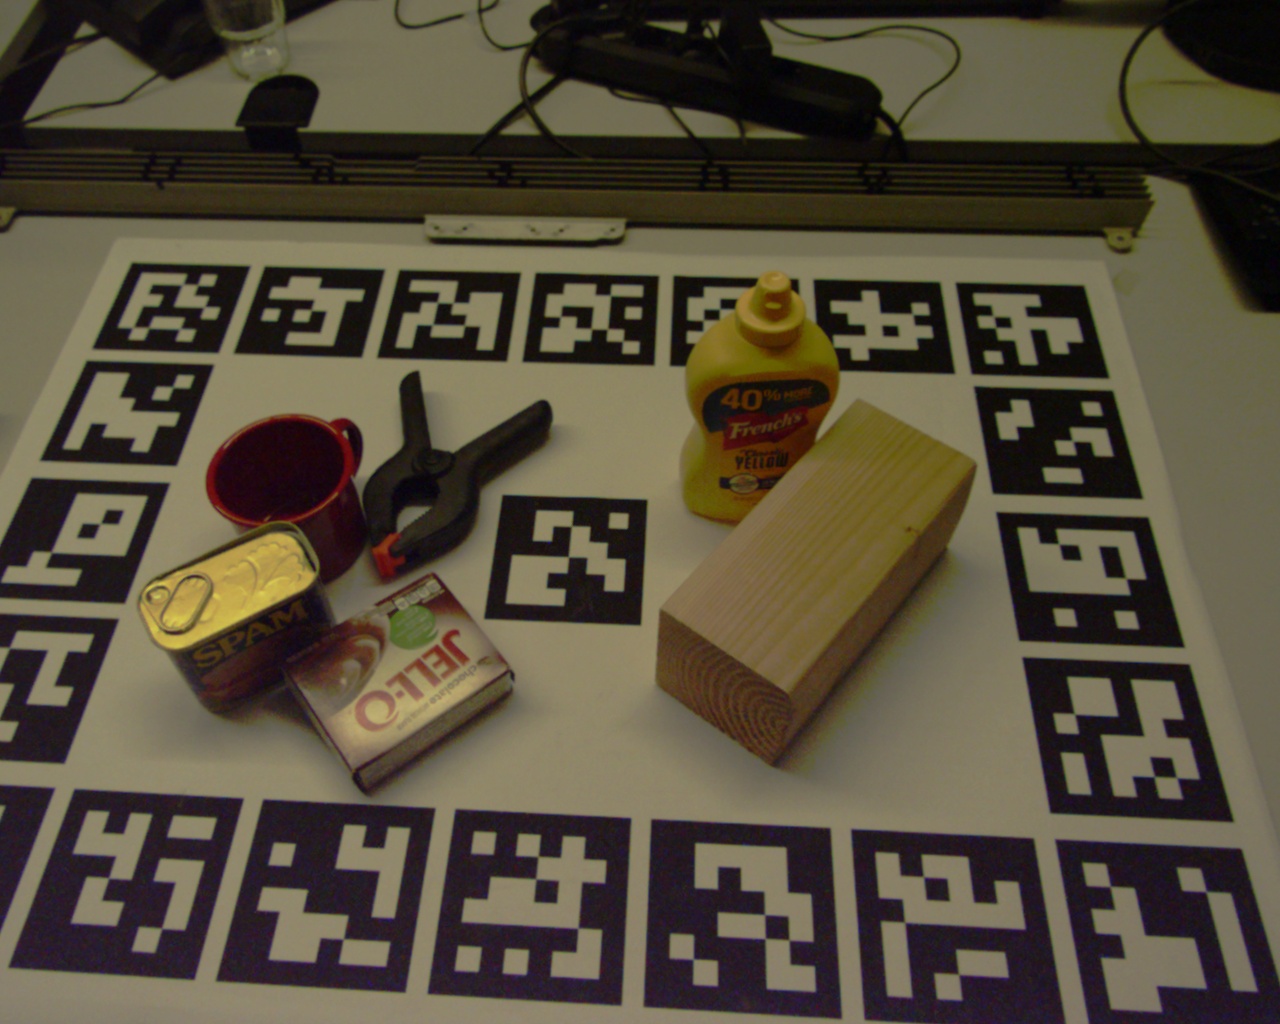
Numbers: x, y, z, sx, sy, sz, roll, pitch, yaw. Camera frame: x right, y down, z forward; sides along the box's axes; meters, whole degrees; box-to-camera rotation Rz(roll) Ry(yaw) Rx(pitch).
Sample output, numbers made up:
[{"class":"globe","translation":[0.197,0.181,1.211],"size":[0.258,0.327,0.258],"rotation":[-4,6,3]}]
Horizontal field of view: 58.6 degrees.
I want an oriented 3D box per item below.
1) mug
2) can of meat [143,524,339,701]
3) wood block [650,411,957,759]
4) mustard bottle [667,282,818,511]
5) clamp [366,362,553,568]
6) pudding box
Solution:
[{"class":"mug","translation":[-0.231,-0.005,0.803],"size":[0.094,0.081,0.117],"rotation":[20,59,14]},{"class":"can of meat","translation":[-0.246,0.066,0.717],"size":[0.101,0.083,0.058],"rotation":[-24,59,-16]},{"class":"wood block","translation":[0.104,0.042,0.733],"size":[0.091,0.090,0.205],"rotation":[33,59,24]},{"class":"mustard bottle","translation":[0.067,-0.076,0.750],"size":[0.096,0.191,0.058],"rotation":[-2,55,-1]},{"class":"clamp","translation":[-0.147,-0.033,0.826],"size":[0.122,0.036,0.165],"rotation":[18,58,12]},{"class":"pudding box","translation":[-0.149,0.102,0.722],"size":[0.113,0.038,0.091],"rotation":[-32,60,-22]}]
